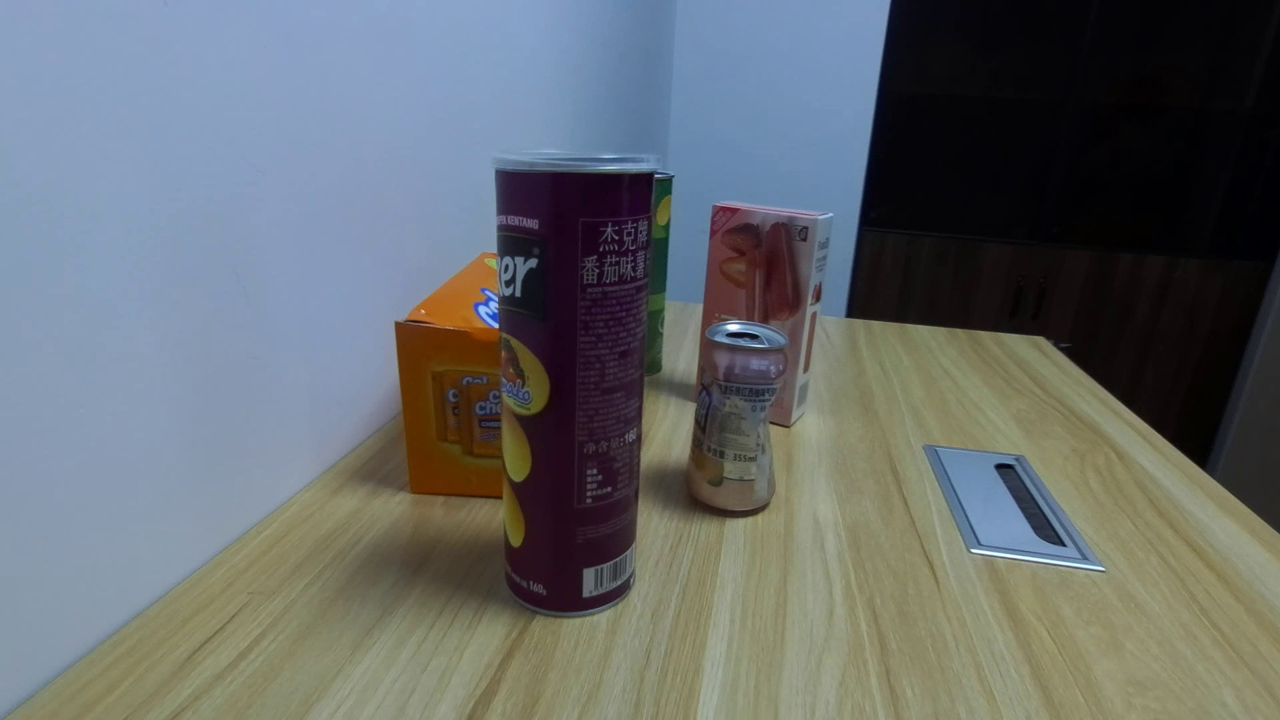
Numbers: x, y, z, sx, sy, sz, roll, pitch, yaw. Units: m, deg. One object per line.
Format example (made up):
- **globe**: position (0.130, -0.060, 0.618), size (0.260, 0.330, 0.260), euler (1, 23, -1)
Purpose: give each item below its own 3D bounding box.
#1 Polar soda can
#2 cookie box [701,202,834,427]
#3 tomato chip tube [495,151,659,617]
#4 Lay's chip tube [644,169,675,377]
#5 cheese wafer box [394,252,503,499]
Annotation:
- **Polar soda can**: position (0.069, 0.039, 0.490), size (0.074, 0.122, 0.067), euler (-17, 27, -42)
- **cookie box**: position (0.108, -0.042, 0.629), size (0.096, 0.184, 0.048), euler (13, 19, 27)
- **tomato chip tube**: position (-0.033, 0.015, 0.373), size (0.078, 0.234, 0.078), euler (3, 19, -1)
- **Lay's chip tube**: position (-0.005, -0.086, 0.717), size (0.071, 0.202, 0.071), euler (3, 12, 0)
- **cheese wafer box**: position (-0.076, 0.004, 0.564), size (0.152, 0.132, 0.230), euler (6, 20, 3)
